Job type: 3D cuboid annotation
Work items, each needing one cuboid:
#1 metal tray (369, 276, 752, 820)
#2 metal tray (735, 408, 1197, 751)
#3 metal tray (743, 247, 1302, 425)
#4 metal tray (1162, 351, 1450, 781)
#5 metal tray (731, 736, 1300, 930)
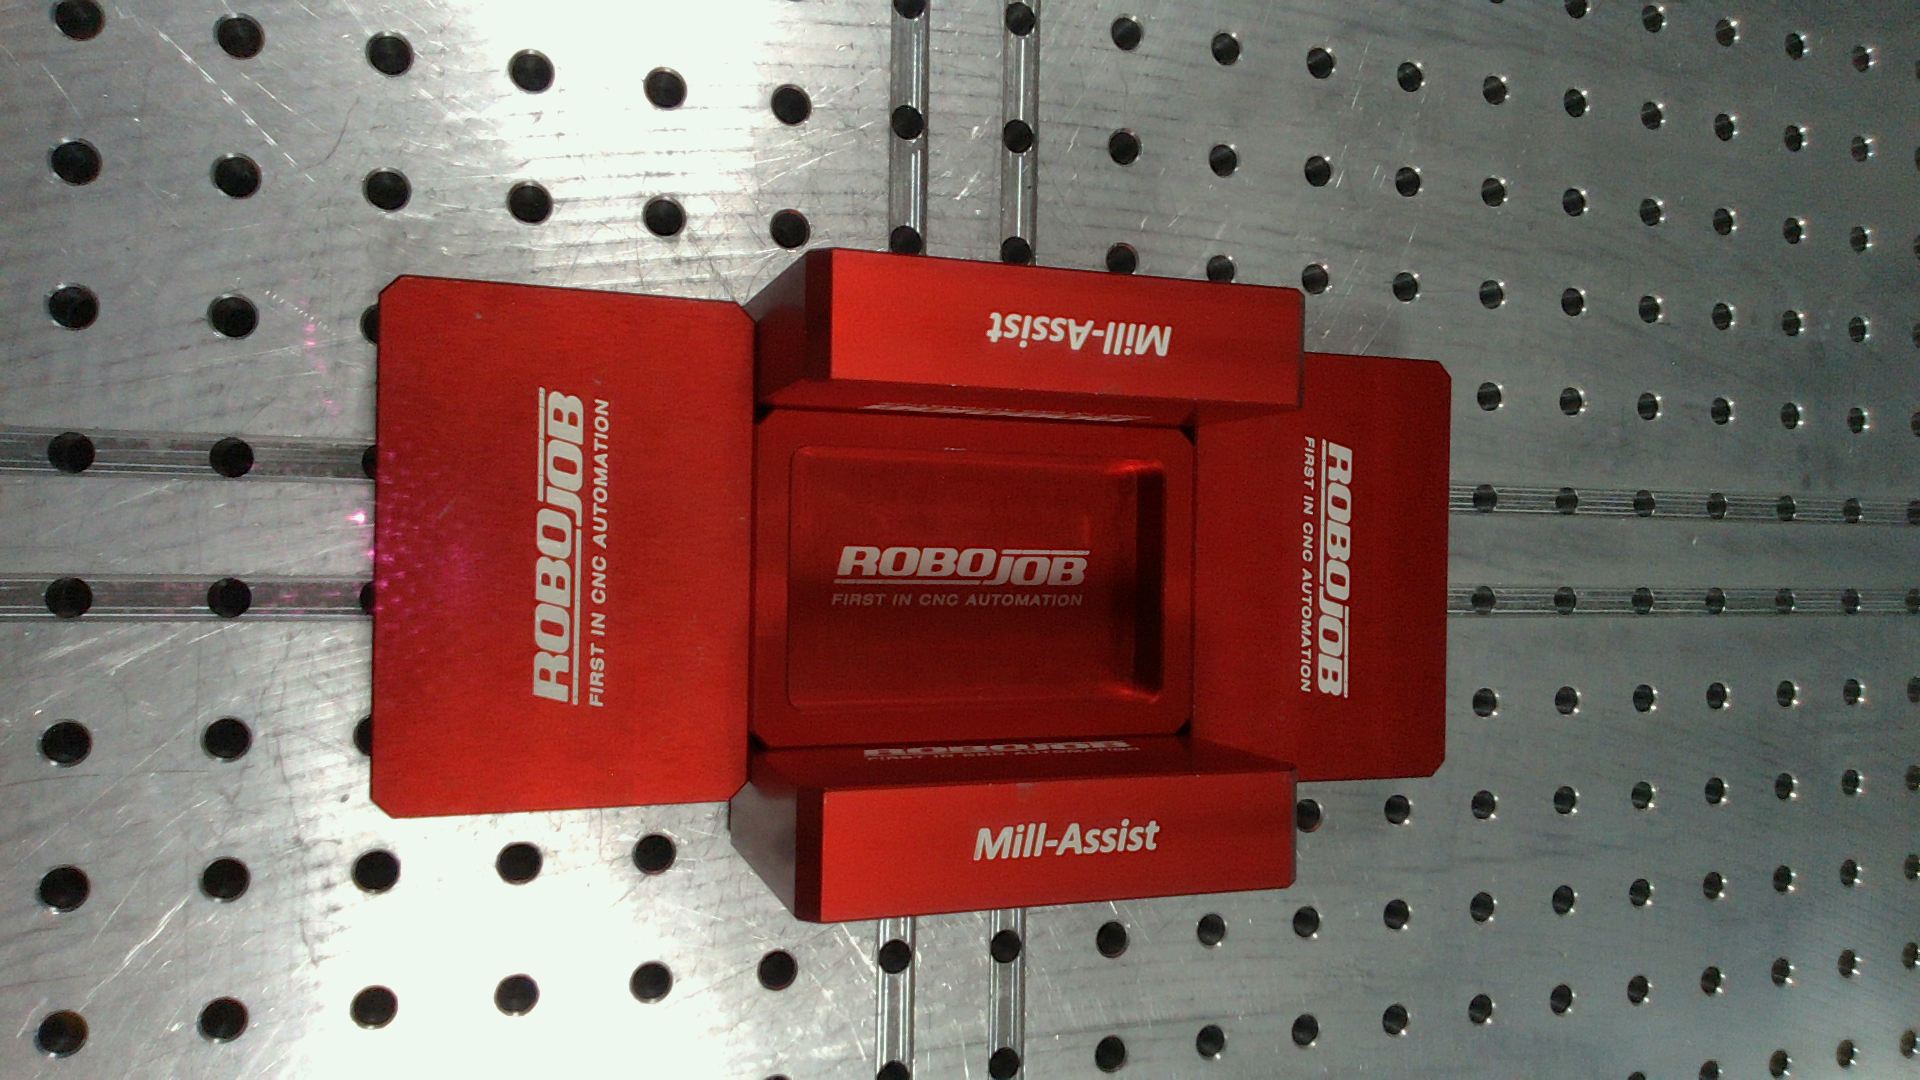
[{"bbox_3d":[-0.102,0.002,0.356,0.090,0.030,0.130,1,90,-20],"label":"metal tray"},{"bbox_3d":[0.003,0.011,0.392,0.130,0.030,0.090,1,90,-20],"label":"metal tray"},{"bbox_3d":[0.013,-0.049,0.366,0.130,0.090,0.030,1,90,-20],"label":"metal tray"},{"bbox_3d":[0.106,0.008,0.430,0.090,0.030,0.130,1,90,-21],"label":"metal tray"},{"bbox_3d":[0.012,0.072,0.364,0.130,0.090,0.030,1,90,-20],"label":"metal tray"}]
